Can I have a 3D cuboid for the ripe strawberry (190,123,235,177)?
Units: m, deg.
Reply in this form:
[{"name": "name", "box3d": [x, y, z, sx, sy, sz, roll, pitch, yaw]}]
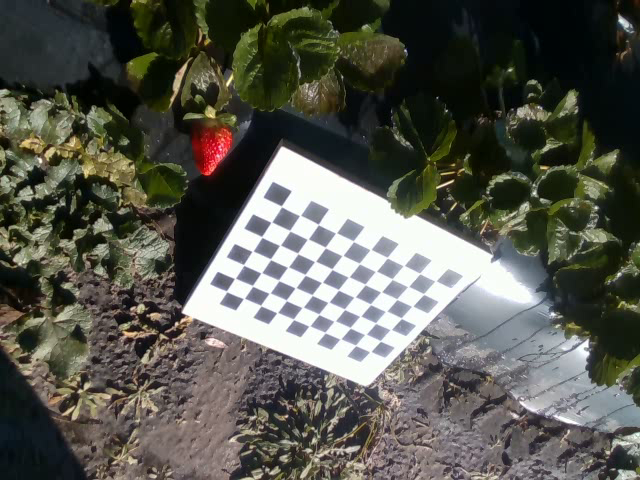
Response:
[{"name": "ripe strawberry", "box3d": [-0.116, -0.096, 0.603, 0.048, 0.069, 0.040, 10, 28, -7]}]
